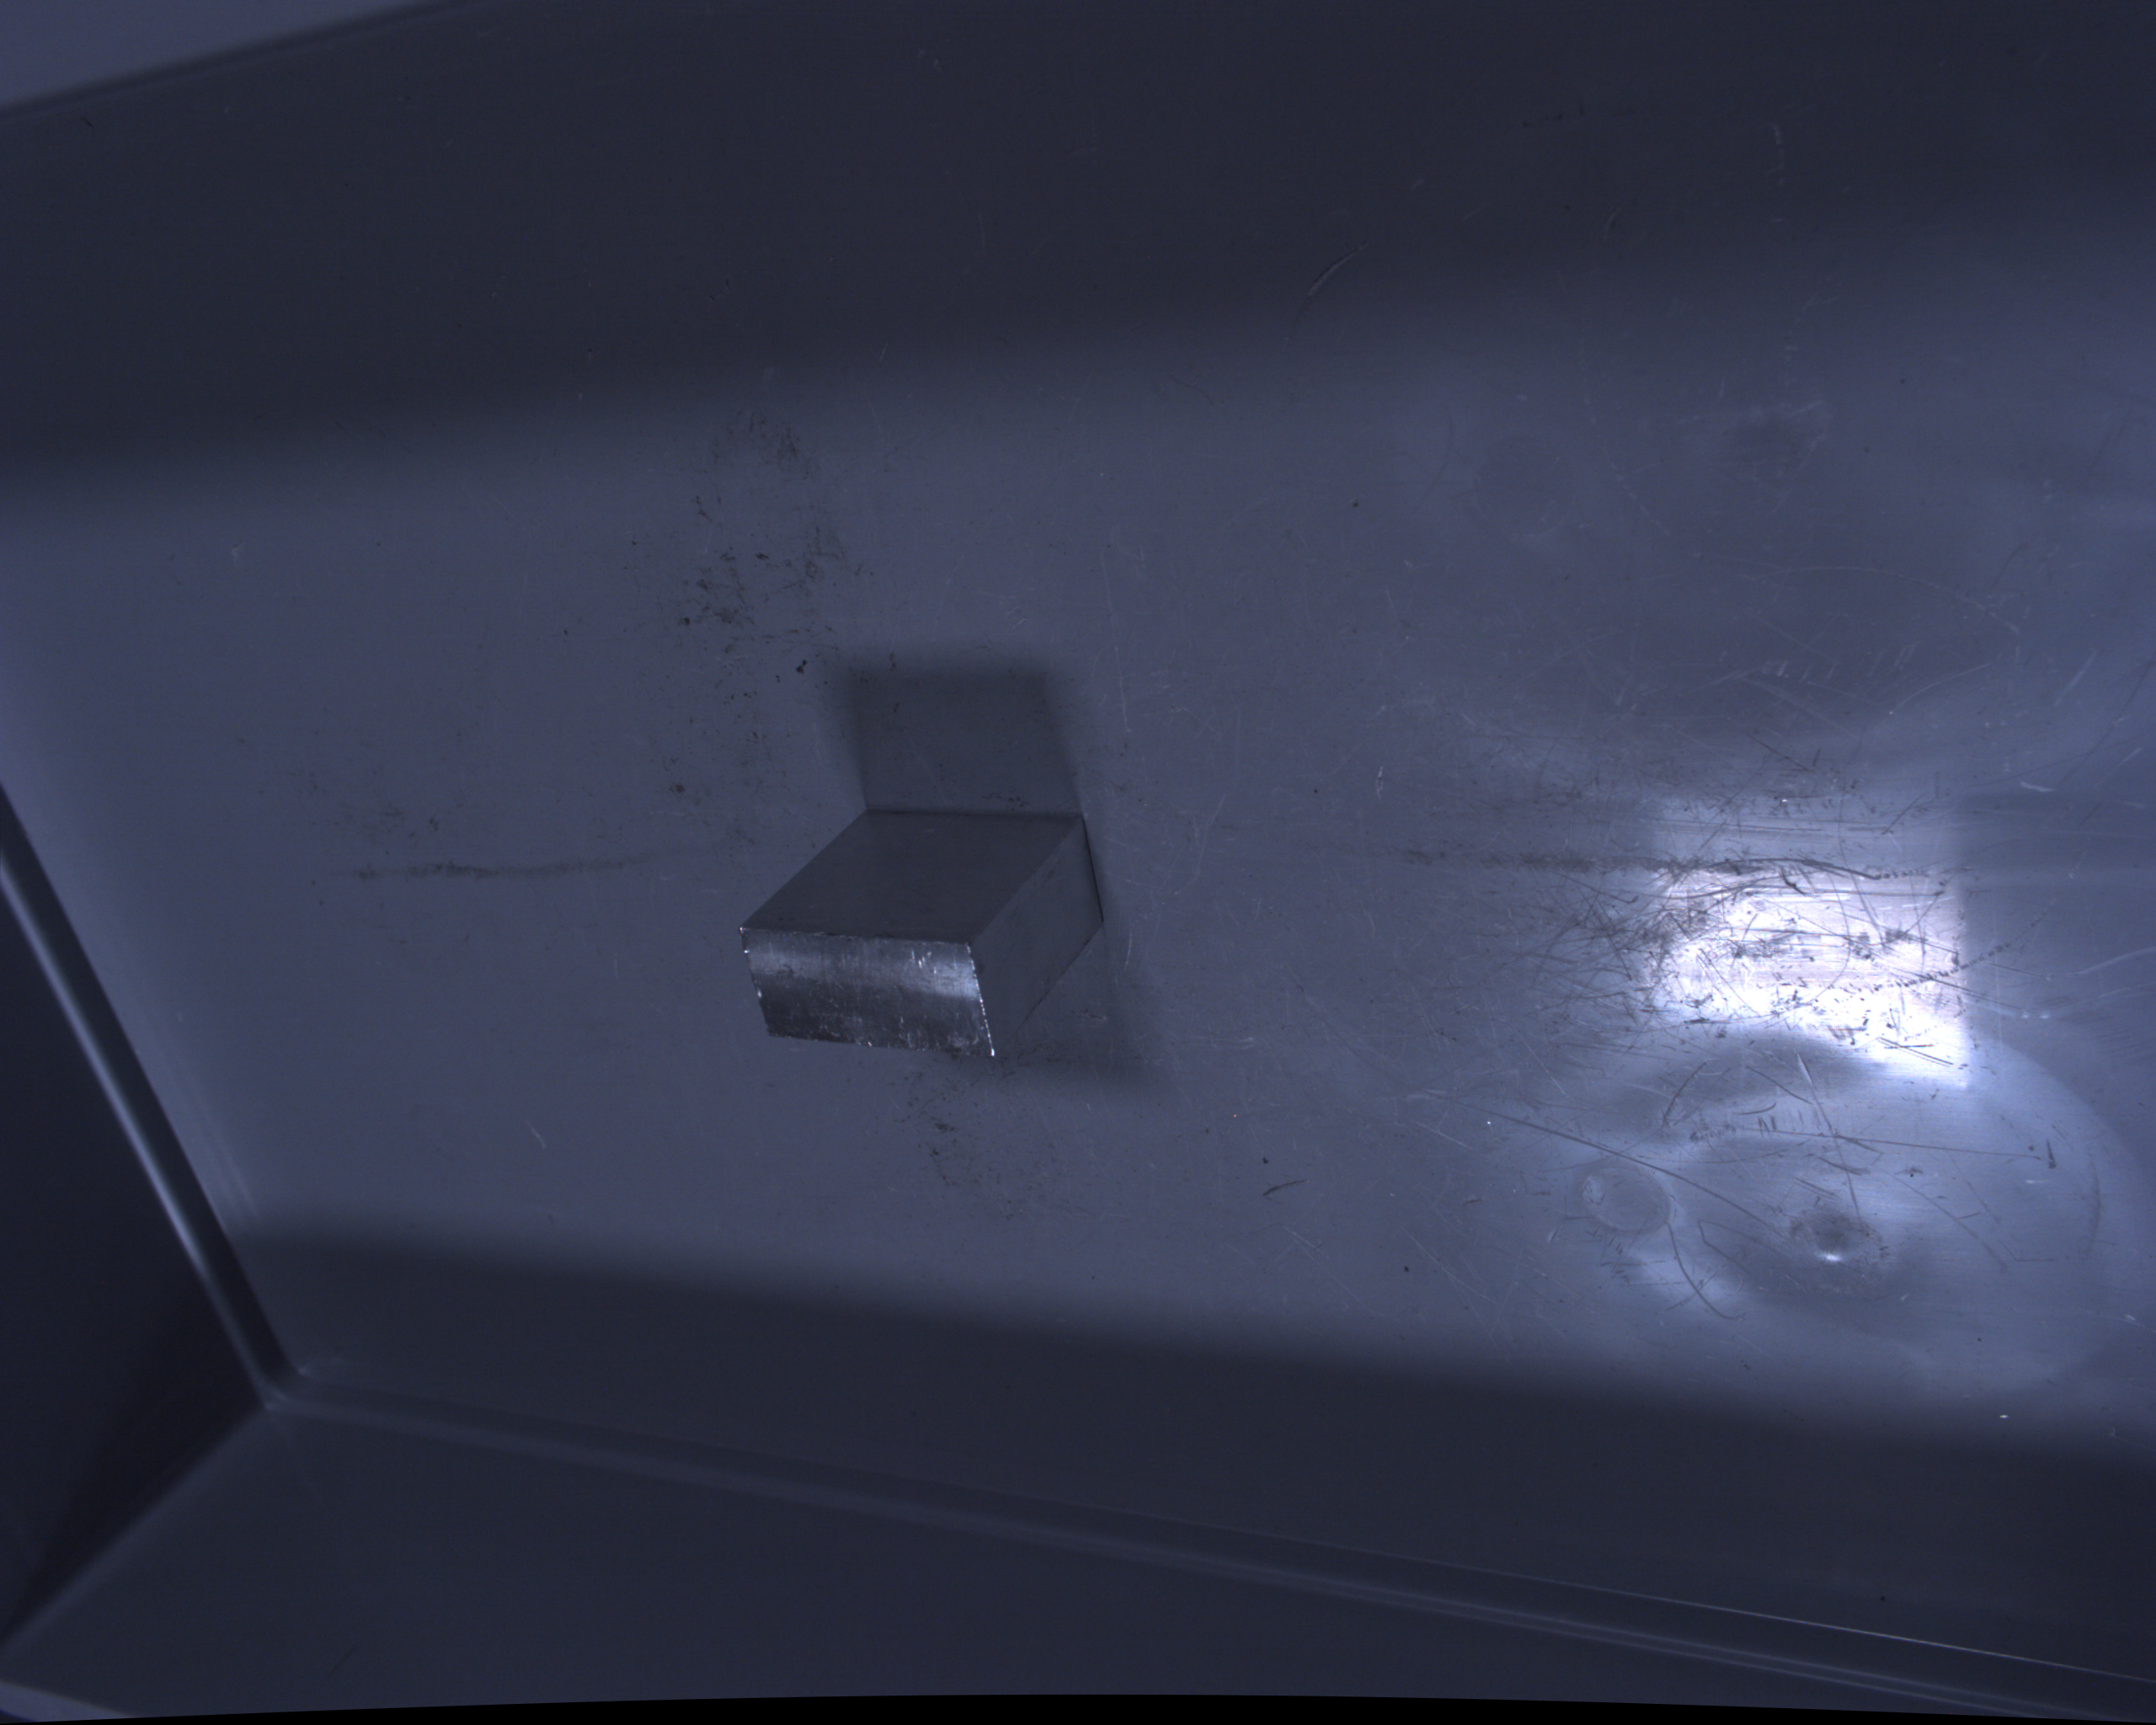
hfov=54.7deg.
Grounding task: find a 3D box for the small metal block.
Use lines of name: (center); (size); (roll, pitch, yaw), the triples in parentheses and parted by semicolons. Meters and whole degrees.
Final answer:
small metal block: (-0.030, 0.013, 0.410); (0.050, 0.050, 0.025); (3, 120, 26)
